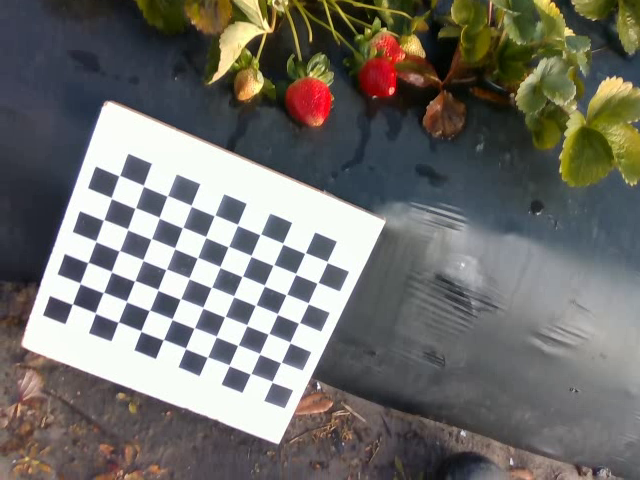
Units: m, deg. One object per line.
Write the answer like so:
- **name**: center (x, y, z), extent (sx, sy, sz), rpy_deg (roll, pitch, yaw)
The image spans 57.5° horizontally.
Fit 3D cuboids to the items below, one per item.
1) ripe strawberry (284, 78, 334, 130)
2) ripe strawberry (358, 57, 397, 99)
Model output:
- **ripe strawberry**: center (-0.010, -0.137, 0.576), extent (0.050, 0.065, 0.050), rpy_deg (-16, -44, 6)
- **ripe strawberry**: center (0.063, -0.168, 0.610), extent (0.044, 0.055, 0.041), rpy_deg (-39, -42, 9)
